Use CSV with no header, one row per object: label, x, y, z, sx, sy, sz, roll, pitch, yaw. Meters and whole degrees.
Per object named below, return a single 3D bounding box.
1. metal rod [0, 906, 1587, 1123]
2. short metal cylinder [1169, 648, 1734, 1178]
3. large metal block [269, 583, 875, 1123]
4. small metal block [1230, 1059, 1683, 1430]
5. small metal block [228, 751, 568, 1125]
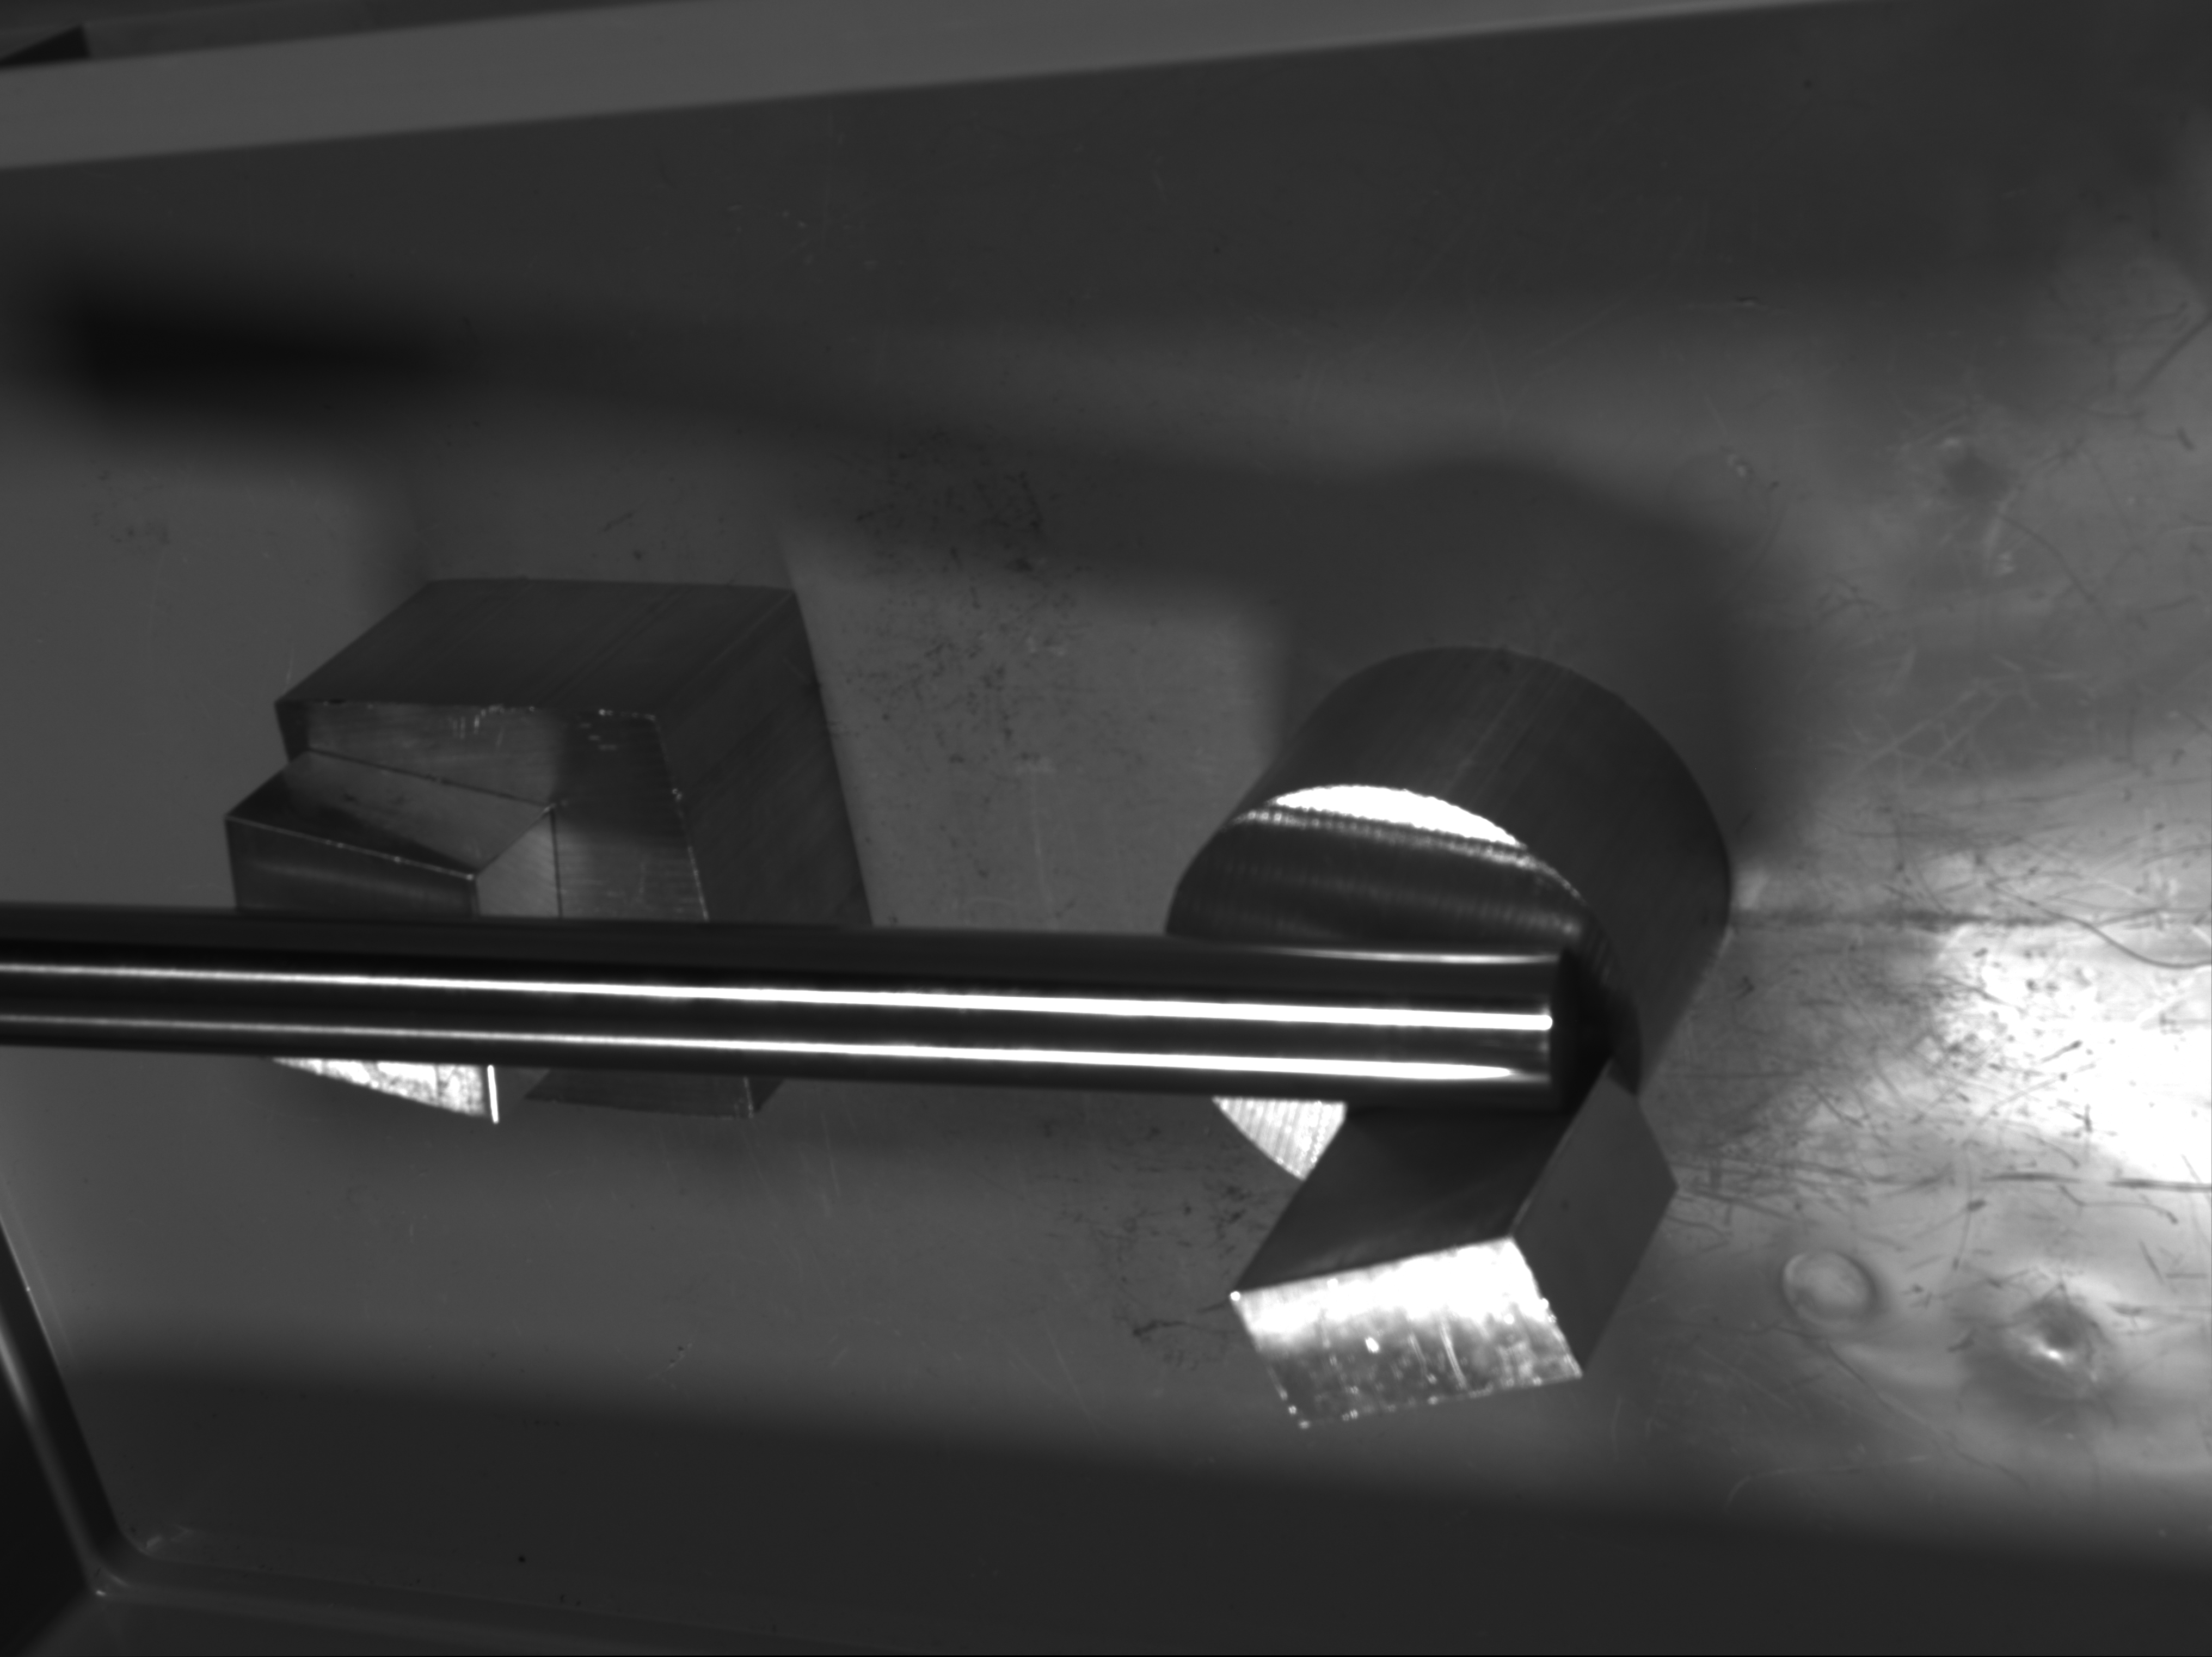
metal rod,-0.073,0.028,0.594,0.300,0.025,0.025,1,119,17
short metal cylinder,0.056,0.018,0.596,0.080,0.050,0.080,12,123,20
large metal block,-0.093,0.003,0.661,0.080,0.050,0.080,3,119,25
small metal block,0.054,0.063,0.560,0.050,0.050,0.025,-15,110,33
small metal block,-0.122,0.019,0.638,0.050,0.025,0.050,12,123,20
